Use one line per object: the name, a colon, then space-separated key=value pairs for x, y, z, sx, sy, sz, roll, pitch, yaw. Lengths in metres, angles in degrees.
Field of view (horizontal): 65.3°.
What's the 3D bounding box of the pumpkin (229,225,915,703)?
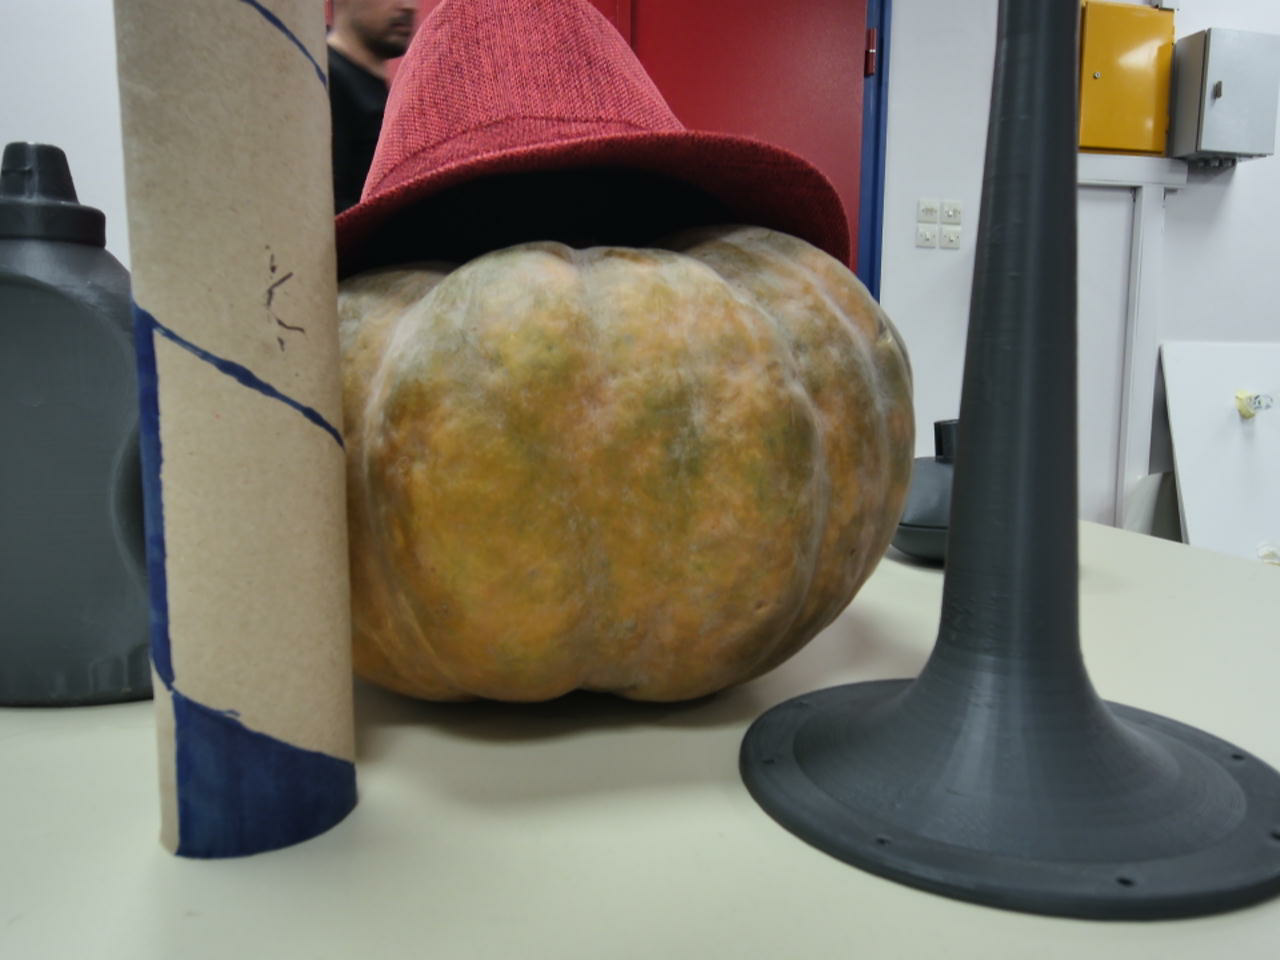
pumpkin: x=-0.026 y=-0.010 z=0.380 sx=0.252 sy=0.168 sz=0.252 roll=0 pitch=5 yaw=0
